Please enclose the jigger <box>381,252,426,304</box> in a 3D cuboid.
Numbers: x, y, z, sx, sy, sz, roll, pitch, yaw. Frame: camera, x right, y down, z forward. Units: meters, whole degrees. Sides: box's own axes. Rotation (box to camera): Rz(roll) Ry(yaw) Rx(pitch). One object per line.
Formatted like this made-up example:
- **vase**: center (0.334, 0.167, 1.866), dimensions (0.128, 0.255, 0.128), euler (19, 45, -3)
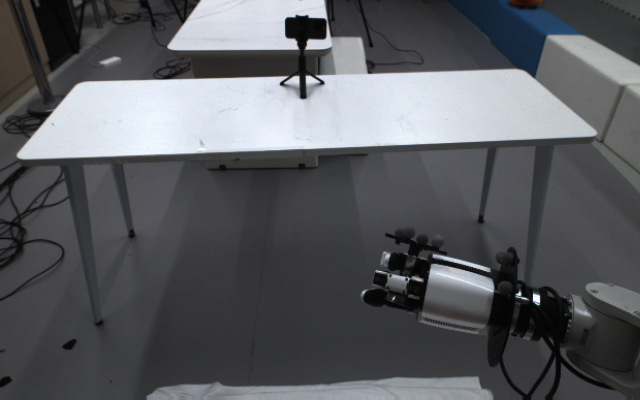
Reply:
- **jigger**: center (0.119, 0.109, 0.669), dimensions (0.043, 0.071, 0.043), euler (19, -6, 2)
